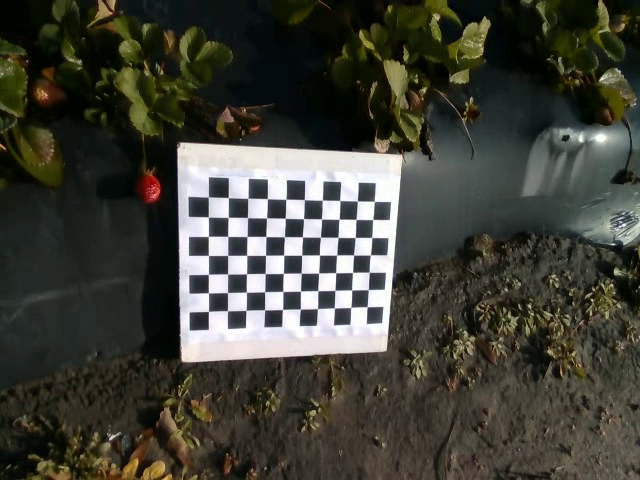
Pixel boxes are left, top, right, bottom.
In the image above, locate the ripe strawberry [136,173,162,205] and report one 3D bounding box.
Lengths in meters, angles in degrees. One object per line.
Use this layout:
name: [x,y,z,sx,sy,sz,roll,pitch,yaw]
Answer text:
ripe strawberry: [-0.168,-0.049,0.833,0.034,0.038,0.033,-2,-41,-21]
